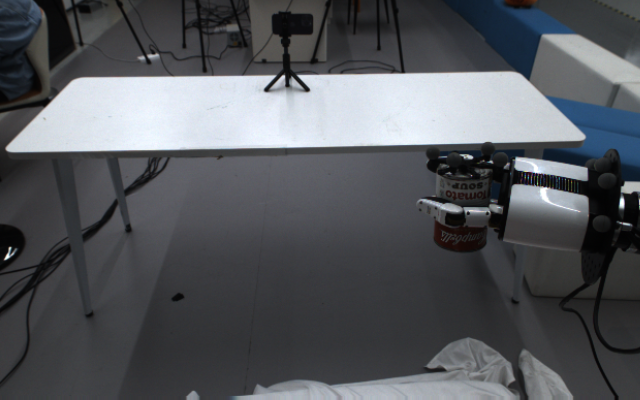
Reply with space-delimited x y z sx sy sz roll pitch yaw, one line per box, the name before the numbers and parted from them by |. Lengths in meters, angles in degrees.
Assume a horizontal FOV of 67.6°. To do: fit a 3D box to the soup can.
soup can | 0.182 0.005 0.613 0.067 0.101 0.067 -4 26 2
